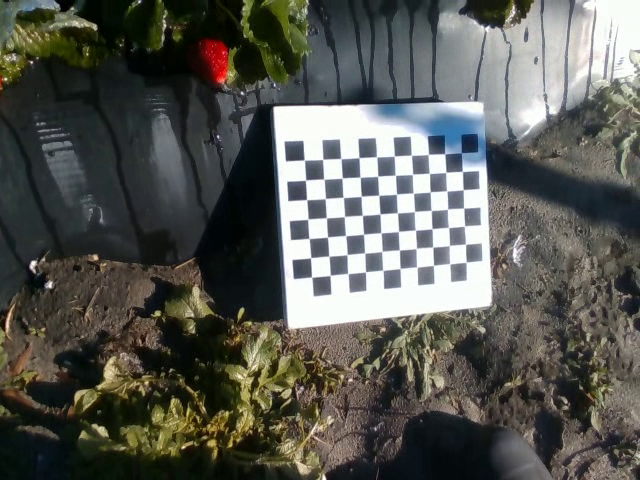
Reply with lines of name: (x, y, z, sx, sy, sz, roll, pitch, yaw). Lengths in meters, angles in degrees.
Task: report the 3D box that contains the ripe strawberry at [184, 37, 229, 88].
ripe strawberry: (-0.099, -0.161, 0.577, 0.042, 0.052, 0.047, -11, -32, -16)
